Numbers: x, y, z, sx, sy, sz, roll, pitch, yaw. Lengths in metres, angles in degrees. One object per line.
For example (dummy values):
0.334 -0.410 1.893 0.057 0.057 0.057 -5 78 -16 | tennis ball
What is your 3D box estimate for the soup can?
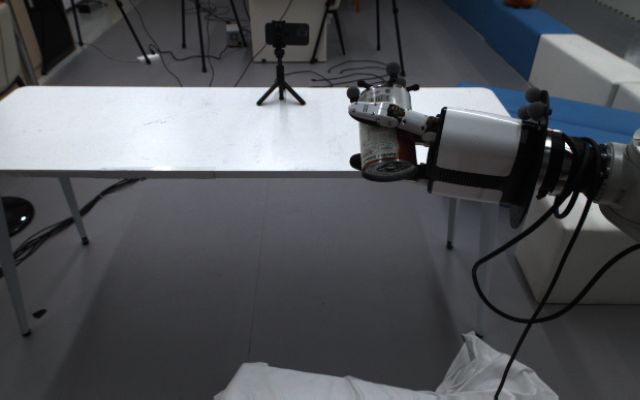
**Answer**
0.081 -0.083 0.593 0.067 0.067 0.101 0 72 -4 | soup can
